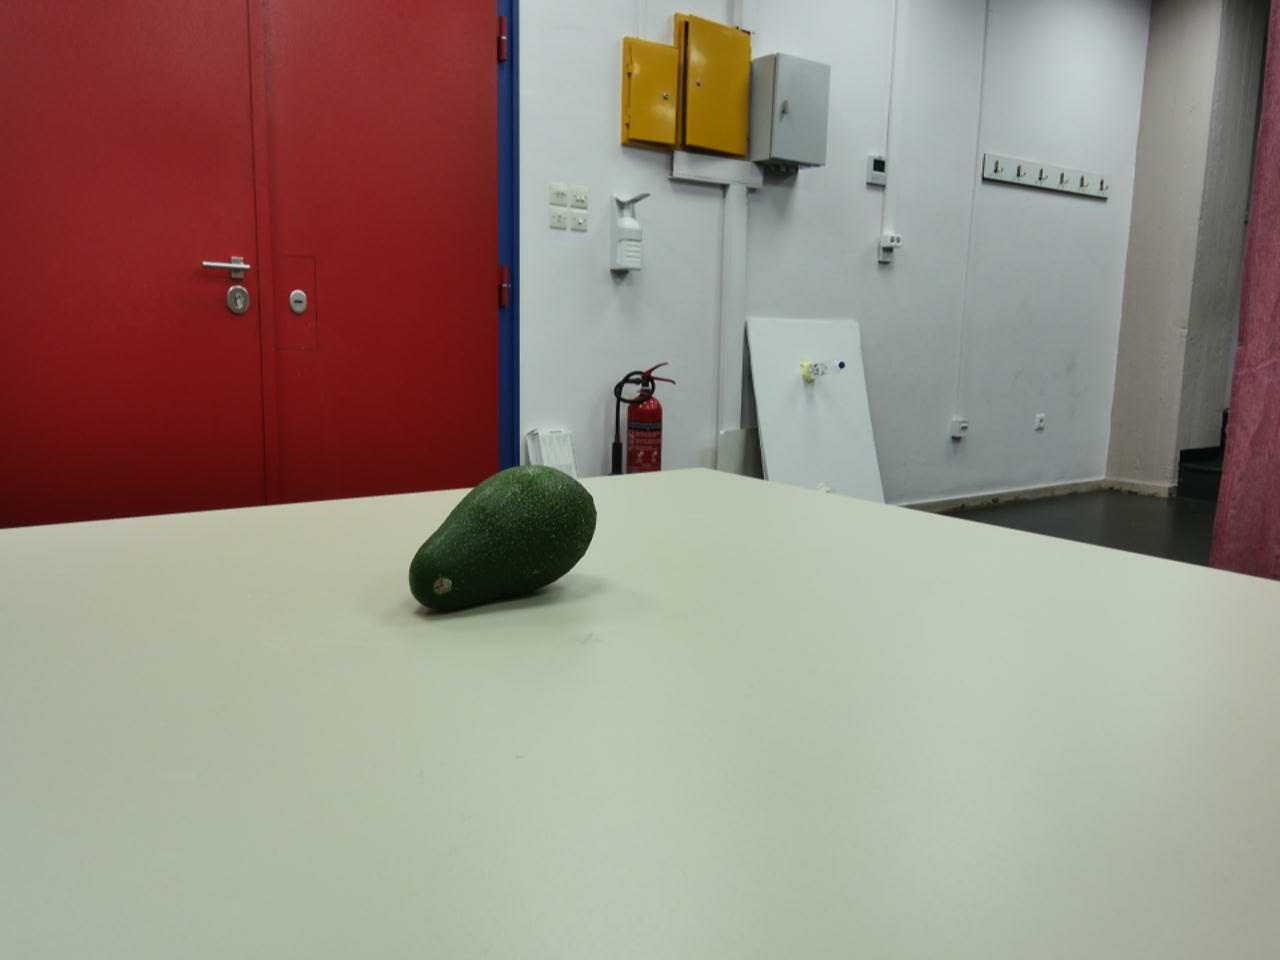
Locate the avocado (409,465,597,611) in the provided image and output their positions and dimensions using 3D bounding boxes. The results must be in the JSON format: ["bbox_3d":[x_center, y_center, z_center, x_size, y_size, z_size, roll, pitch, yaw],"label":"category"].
[{"bbox_3d":[-0.083,0.030,0.588,0.123,0.076,0.074,-4,8,-30],"label":"avocado"}]
